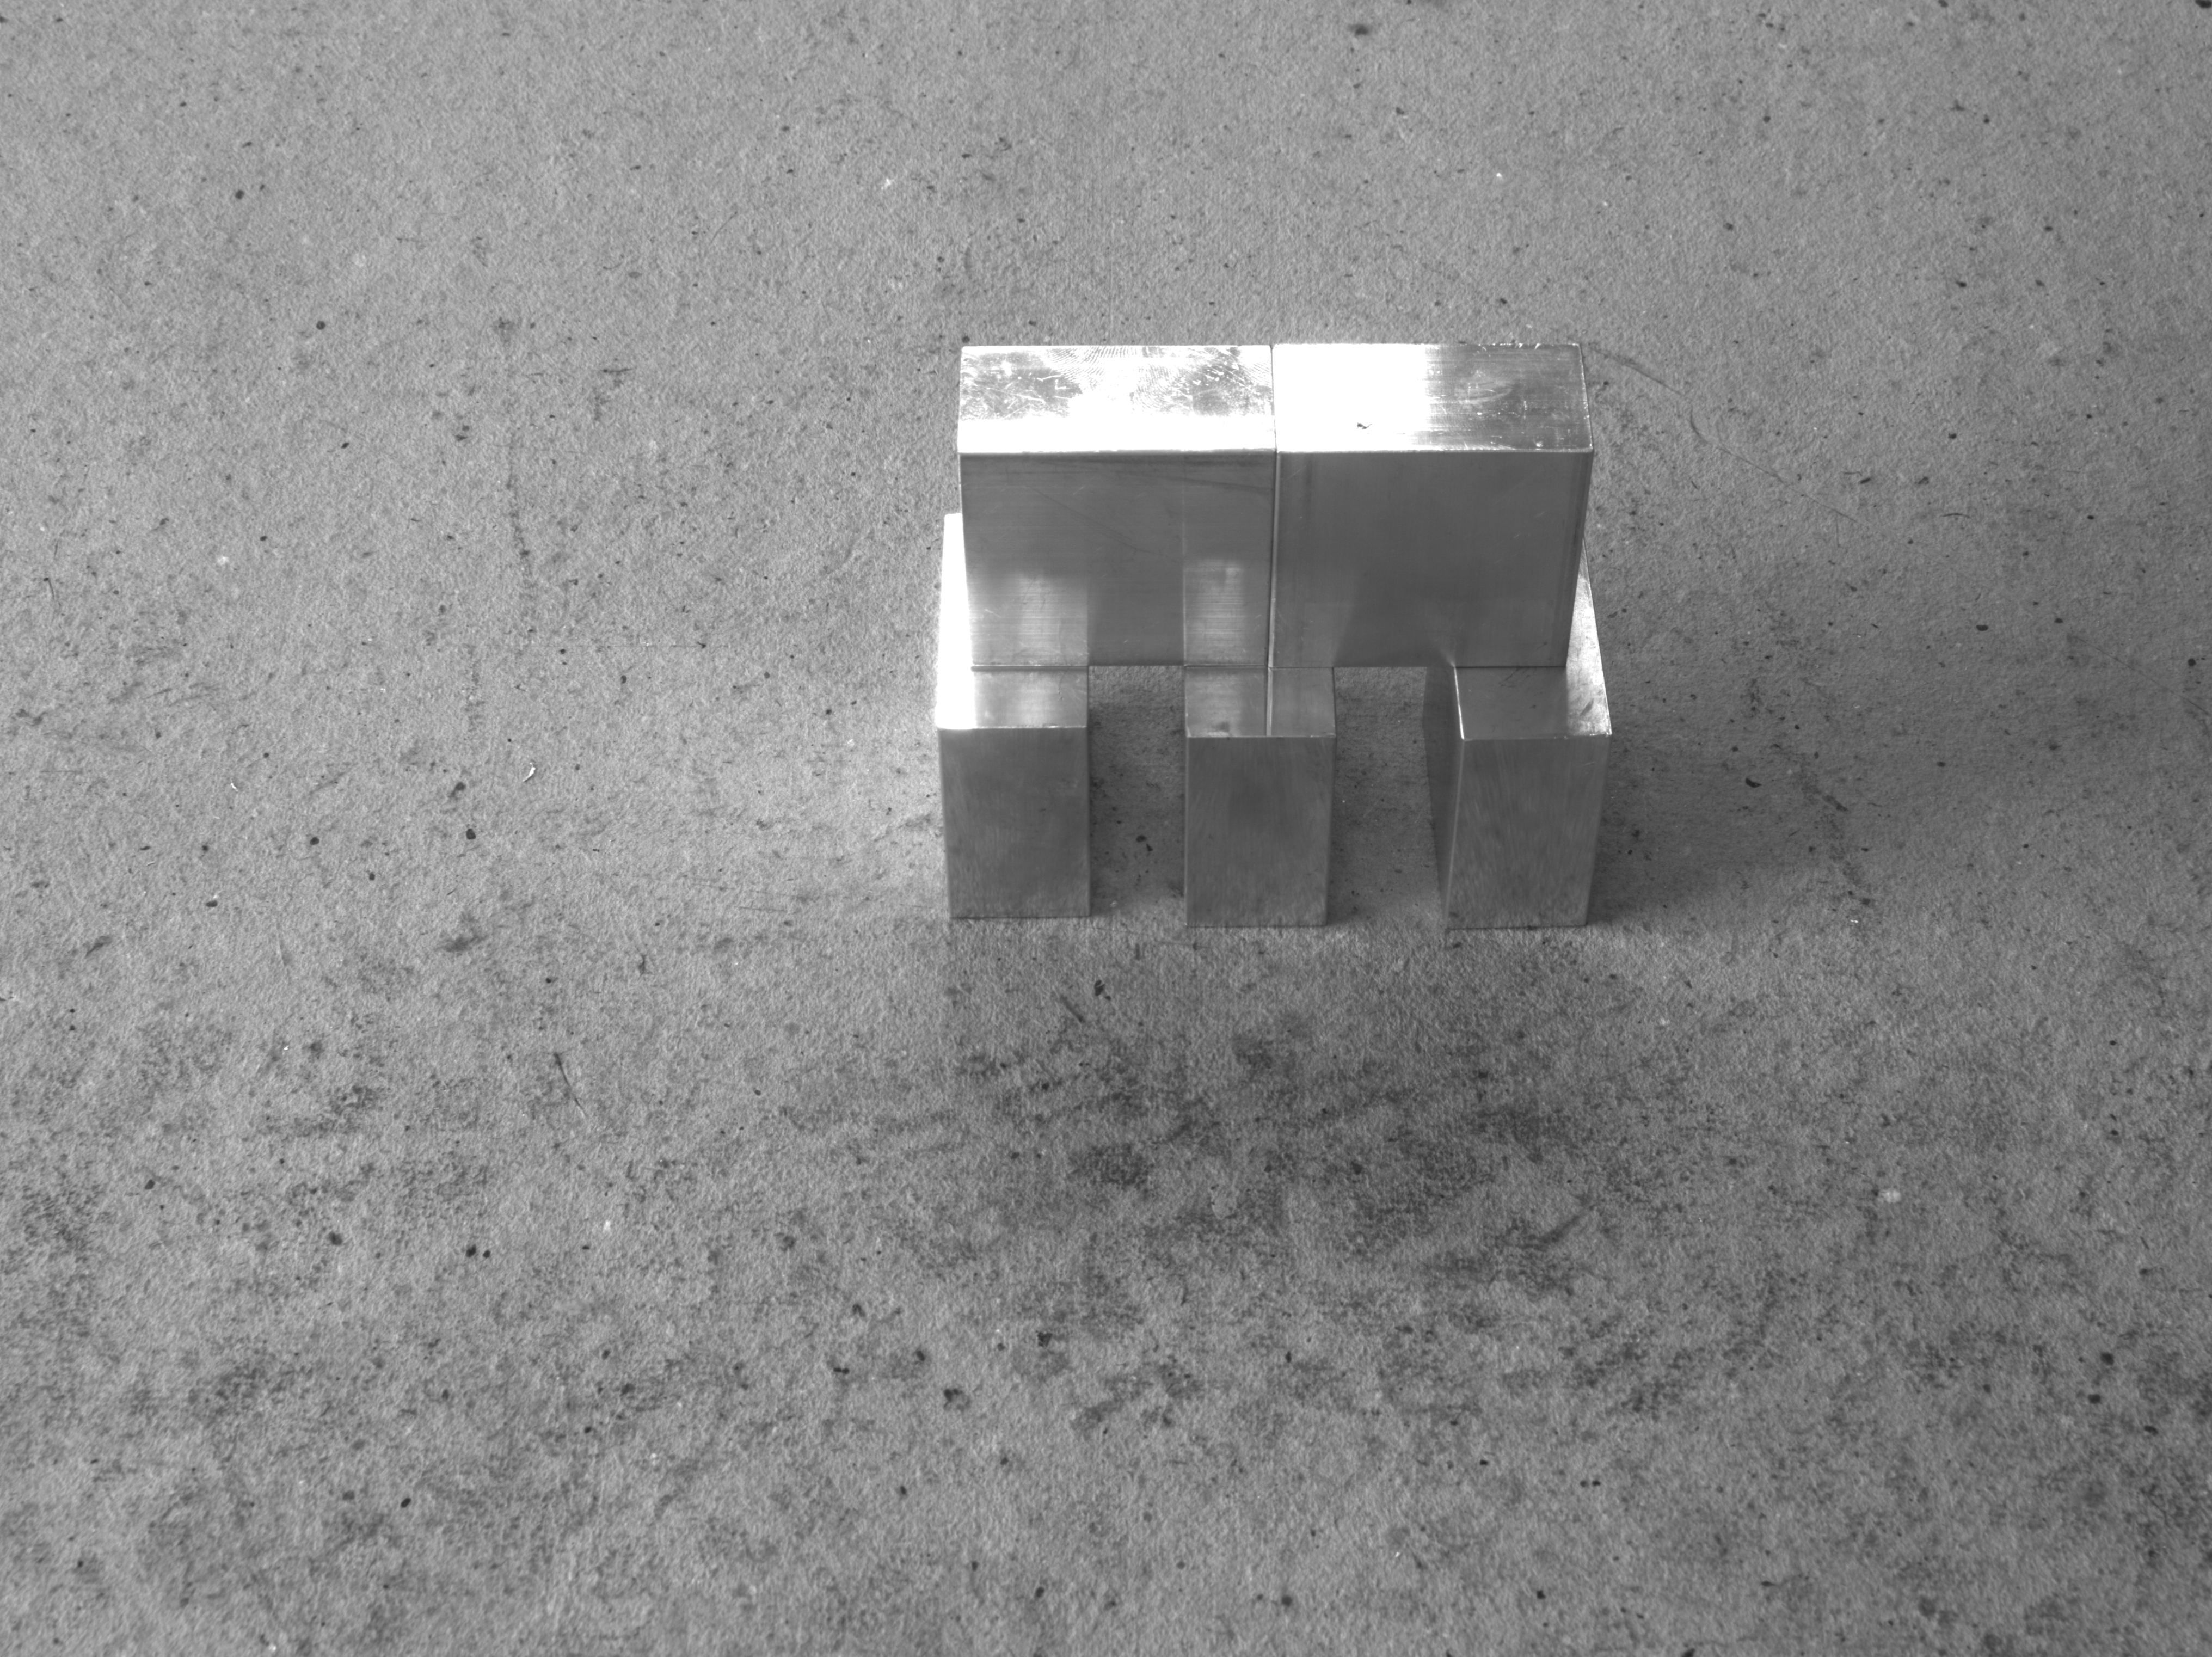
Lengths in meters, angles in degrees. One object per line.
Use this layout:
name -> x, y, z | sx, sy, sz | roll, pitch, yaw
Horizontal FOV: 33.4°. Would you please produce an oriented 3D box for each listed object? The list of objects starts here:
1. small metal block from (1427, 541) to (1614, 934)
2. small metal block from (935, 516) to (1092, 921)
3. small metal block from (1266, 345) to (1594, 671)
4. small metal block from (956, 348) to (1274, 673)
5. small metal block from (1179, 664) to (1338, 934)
small metal block -> 0.071, -0.017, 0.642 | 0.025, 0.050, 0.050 | -1, 49, 0
small metal block -> -0.015, -0.019, 0.642 | 0.025, 0.050, 0.050 | -1, 49, 0
small metal block -> 0.052, -0.052, 0.605 | 0.050, 0.050, 0.025 | 0, 50, 0
small metal block -> 0.001, -0.052, 0.606 | 0.050, 0.050, 0.025 | 0, 50, 0
small metal block -> 0.026, -0.017, 0.642 | 0.025, 0.050, 0.050 | -1, 49, 0
